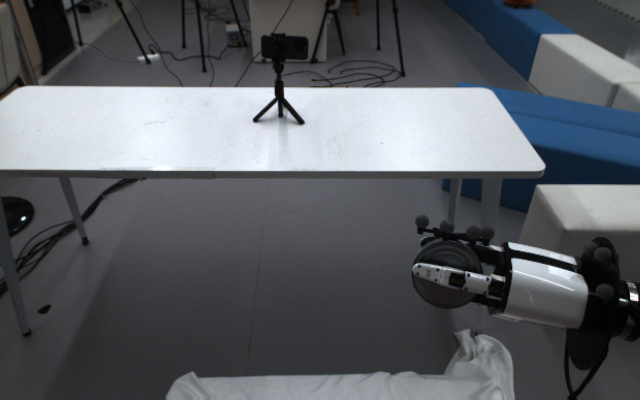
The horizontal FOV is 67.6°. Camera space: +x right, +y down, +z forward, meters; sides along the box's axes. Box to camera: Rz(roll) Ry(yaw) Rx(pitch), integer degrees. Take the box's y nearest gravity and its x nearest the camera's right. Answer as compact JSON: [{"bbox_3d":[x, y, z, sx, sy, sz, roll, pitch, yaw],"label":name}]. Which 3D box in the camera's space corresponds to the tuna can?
[{"bbox_3d":[0.162,0.087,0.610,0.085,0.085,0.034,10,3,12],"label":"tuna can"}]
